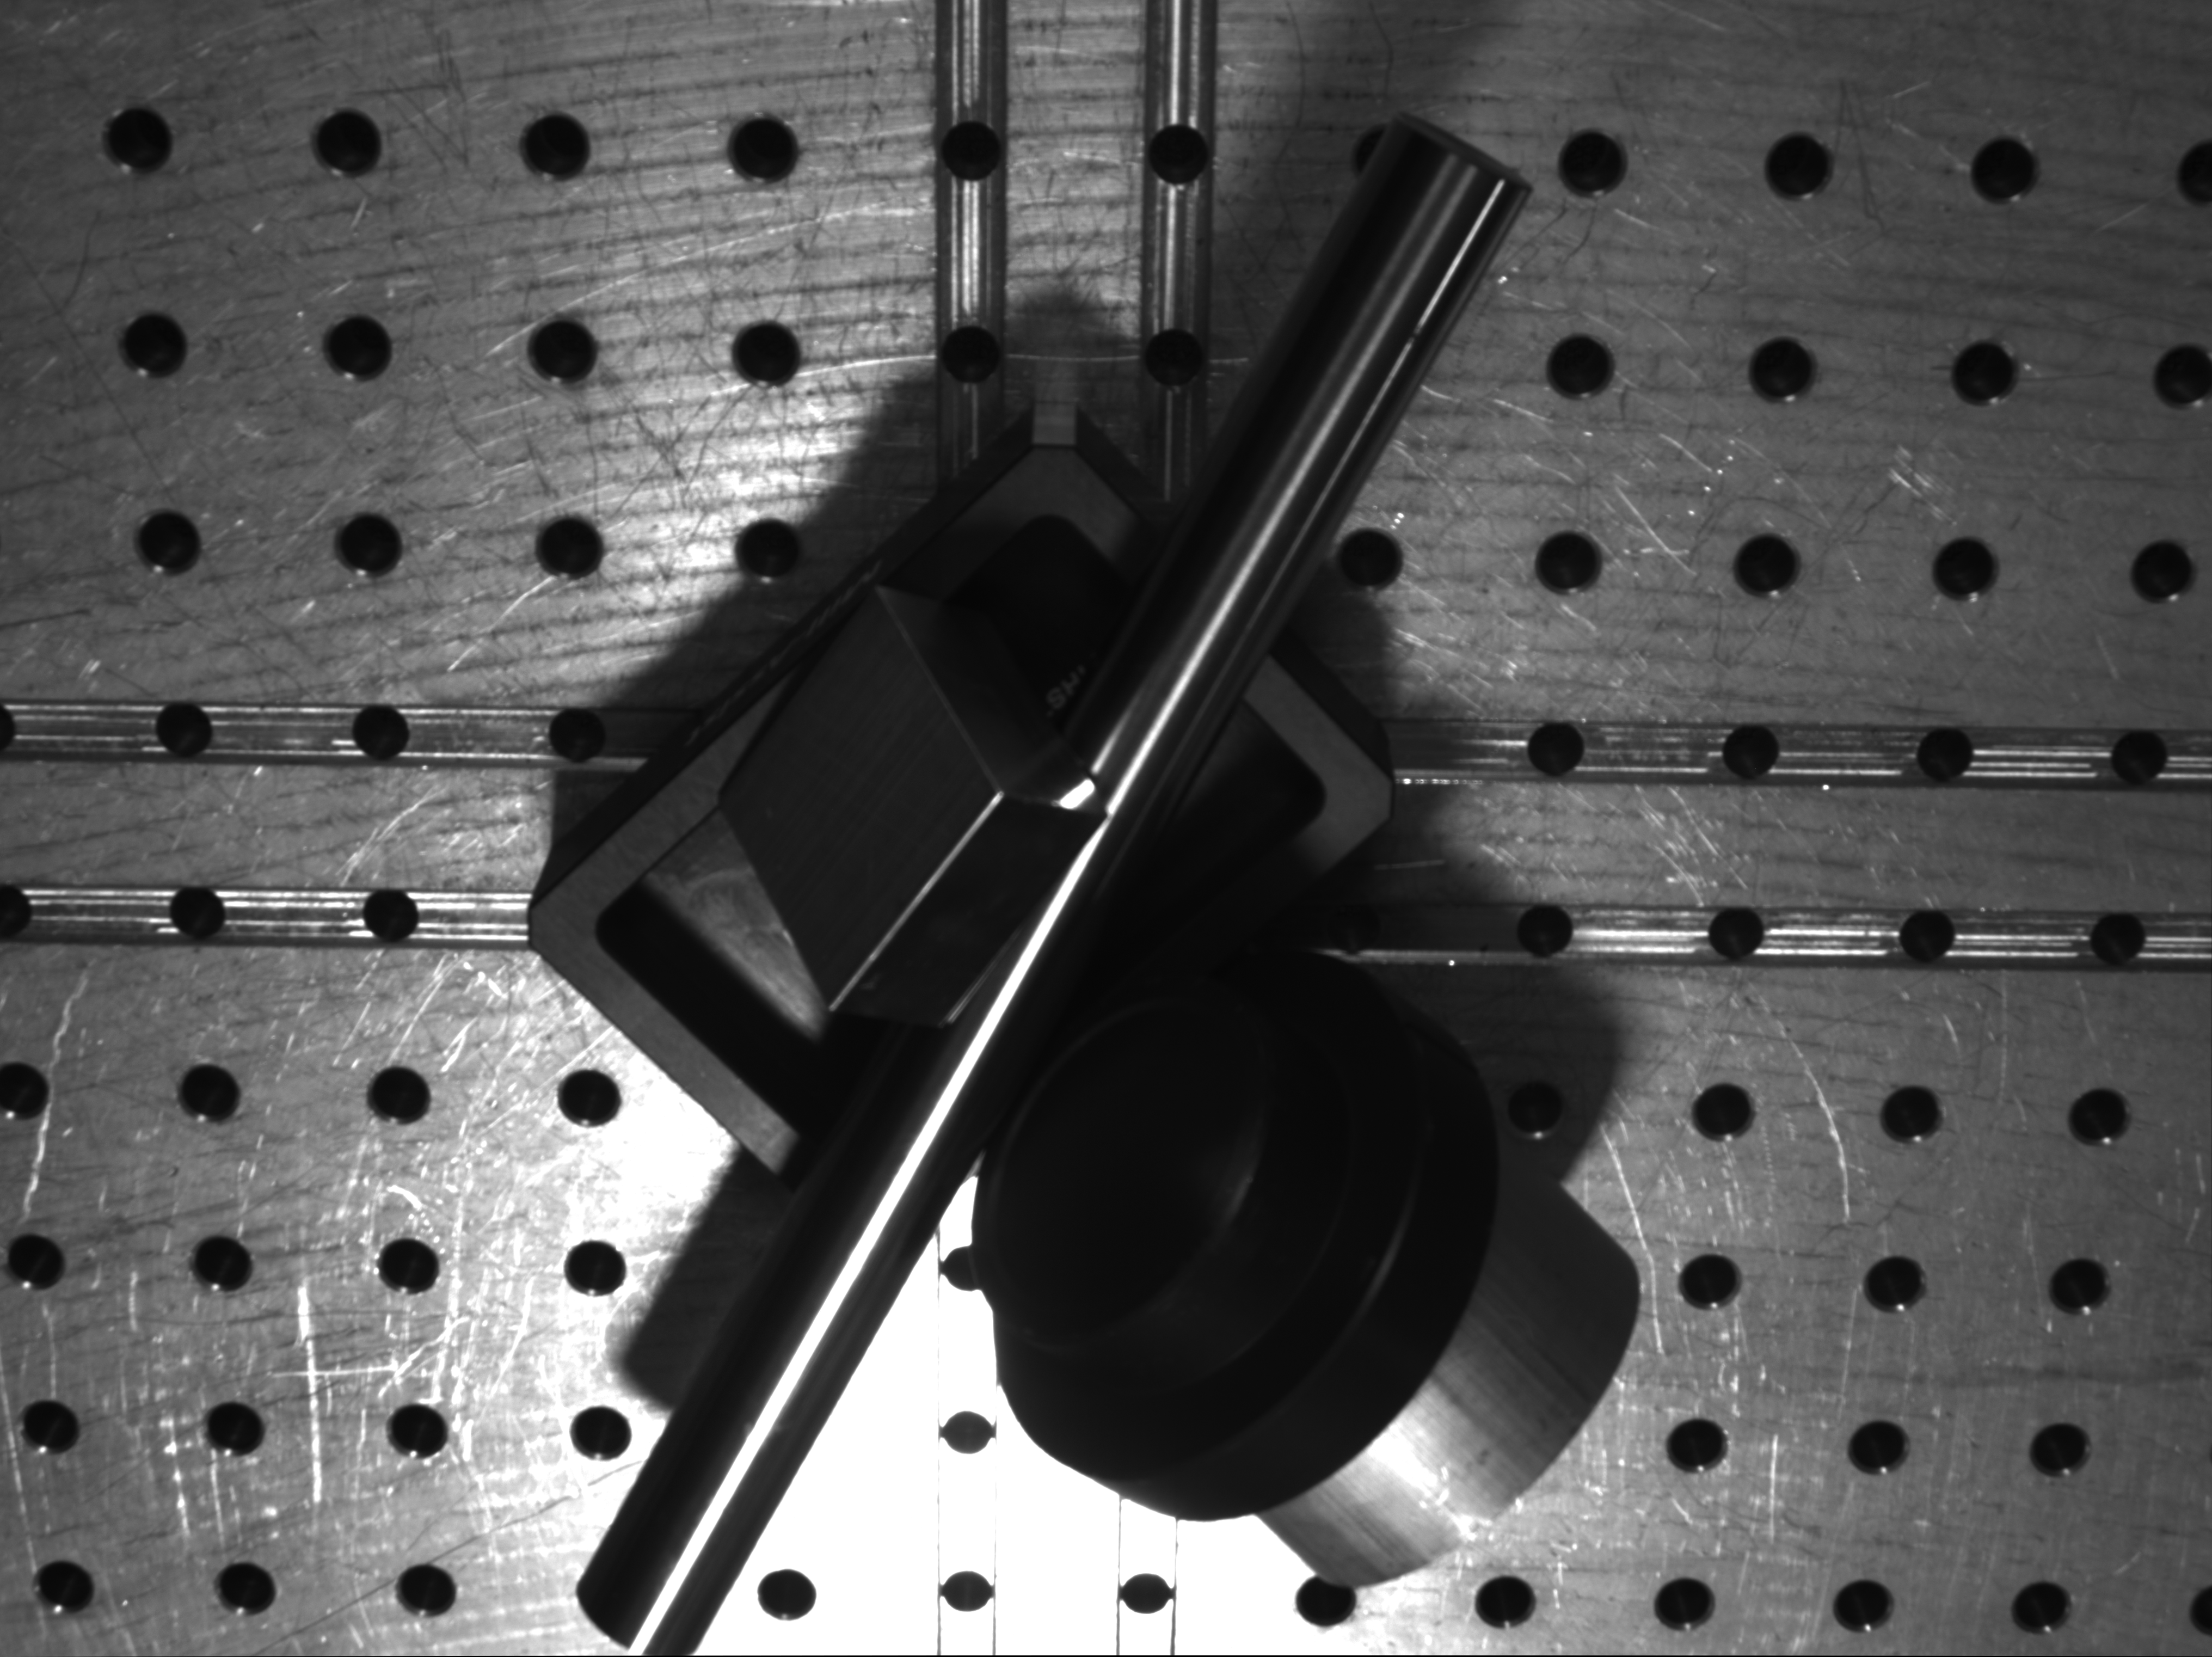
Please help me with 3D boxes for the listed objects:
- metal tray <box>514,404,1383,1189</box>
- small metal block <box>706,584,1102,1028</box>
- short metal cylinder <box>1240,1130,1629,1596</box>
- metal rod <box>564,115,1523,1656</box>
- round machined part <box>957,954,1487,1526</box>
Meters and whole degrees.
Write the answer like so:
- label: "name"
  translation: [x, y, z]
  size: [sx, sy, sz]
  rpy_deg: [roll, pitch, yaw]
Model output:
- label: "metal tray"
  translation: [-0.028, 0.001, 0.642]
  size: [0.130, 0.030, 0.090]
  rpy_deg: [-41, 105, 13]
- label: "small metal block"
  translation: [-0.034, -0.003, 0.607]
  size: [0.025, 0.050, 0.050]
  rpy_deg: [12, 127, -45]
- label: "short metal cylinder"
  translation: [0.045, 0.088, 0.648]
  size: [0.080, 0.080, 0.050]
  rpy_deg: [-42, 105, 13]
- label: "metal rod"
  translation: [-0.016, 0.018, 0.620]
  size: [0.025, 0.025, 0.300]
  rpy_deg: [27, 107, -10]
- label: "round machined part"
  translation: [0.013, 0.064, 0.619]
  size: [0.098, 0.098, 0.042]
  rpy_deg: [-44, 126, 14]
